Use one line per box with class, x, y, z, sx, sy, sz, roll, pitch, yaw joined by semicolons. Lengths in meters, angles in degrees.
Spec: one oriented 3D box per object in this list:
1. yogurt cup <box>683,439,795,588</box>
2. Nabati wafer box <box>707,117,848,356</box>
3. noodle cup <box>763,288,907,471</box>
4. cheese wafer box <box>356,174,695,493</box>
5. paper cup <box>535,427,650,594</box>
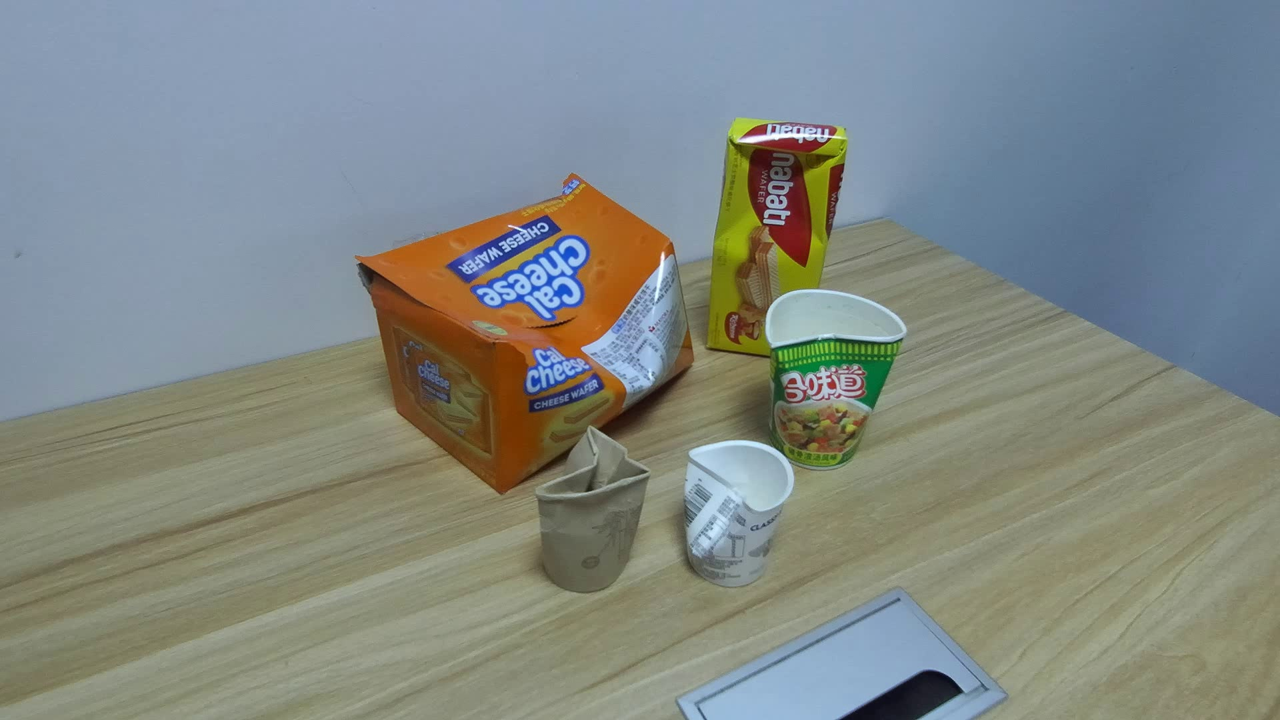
yogurt cup;0.059;0.097;0.441;0.067;0.070;0.067;1;33;0
Nabati wafer box;0.112;-0.096;0.603;0.096;0.203;0.042;10;33;9
noodle cup;0.136;0.016;0.518;0.093;0.109;0.087;9;36;13
cheese wafer box;-0.068;-0.031;0.562;0.190;0.145;0.220;27;43;34
paper cup;-0.035;0.092;0.435;0.067;0.083;0.058;-15;36;-21
